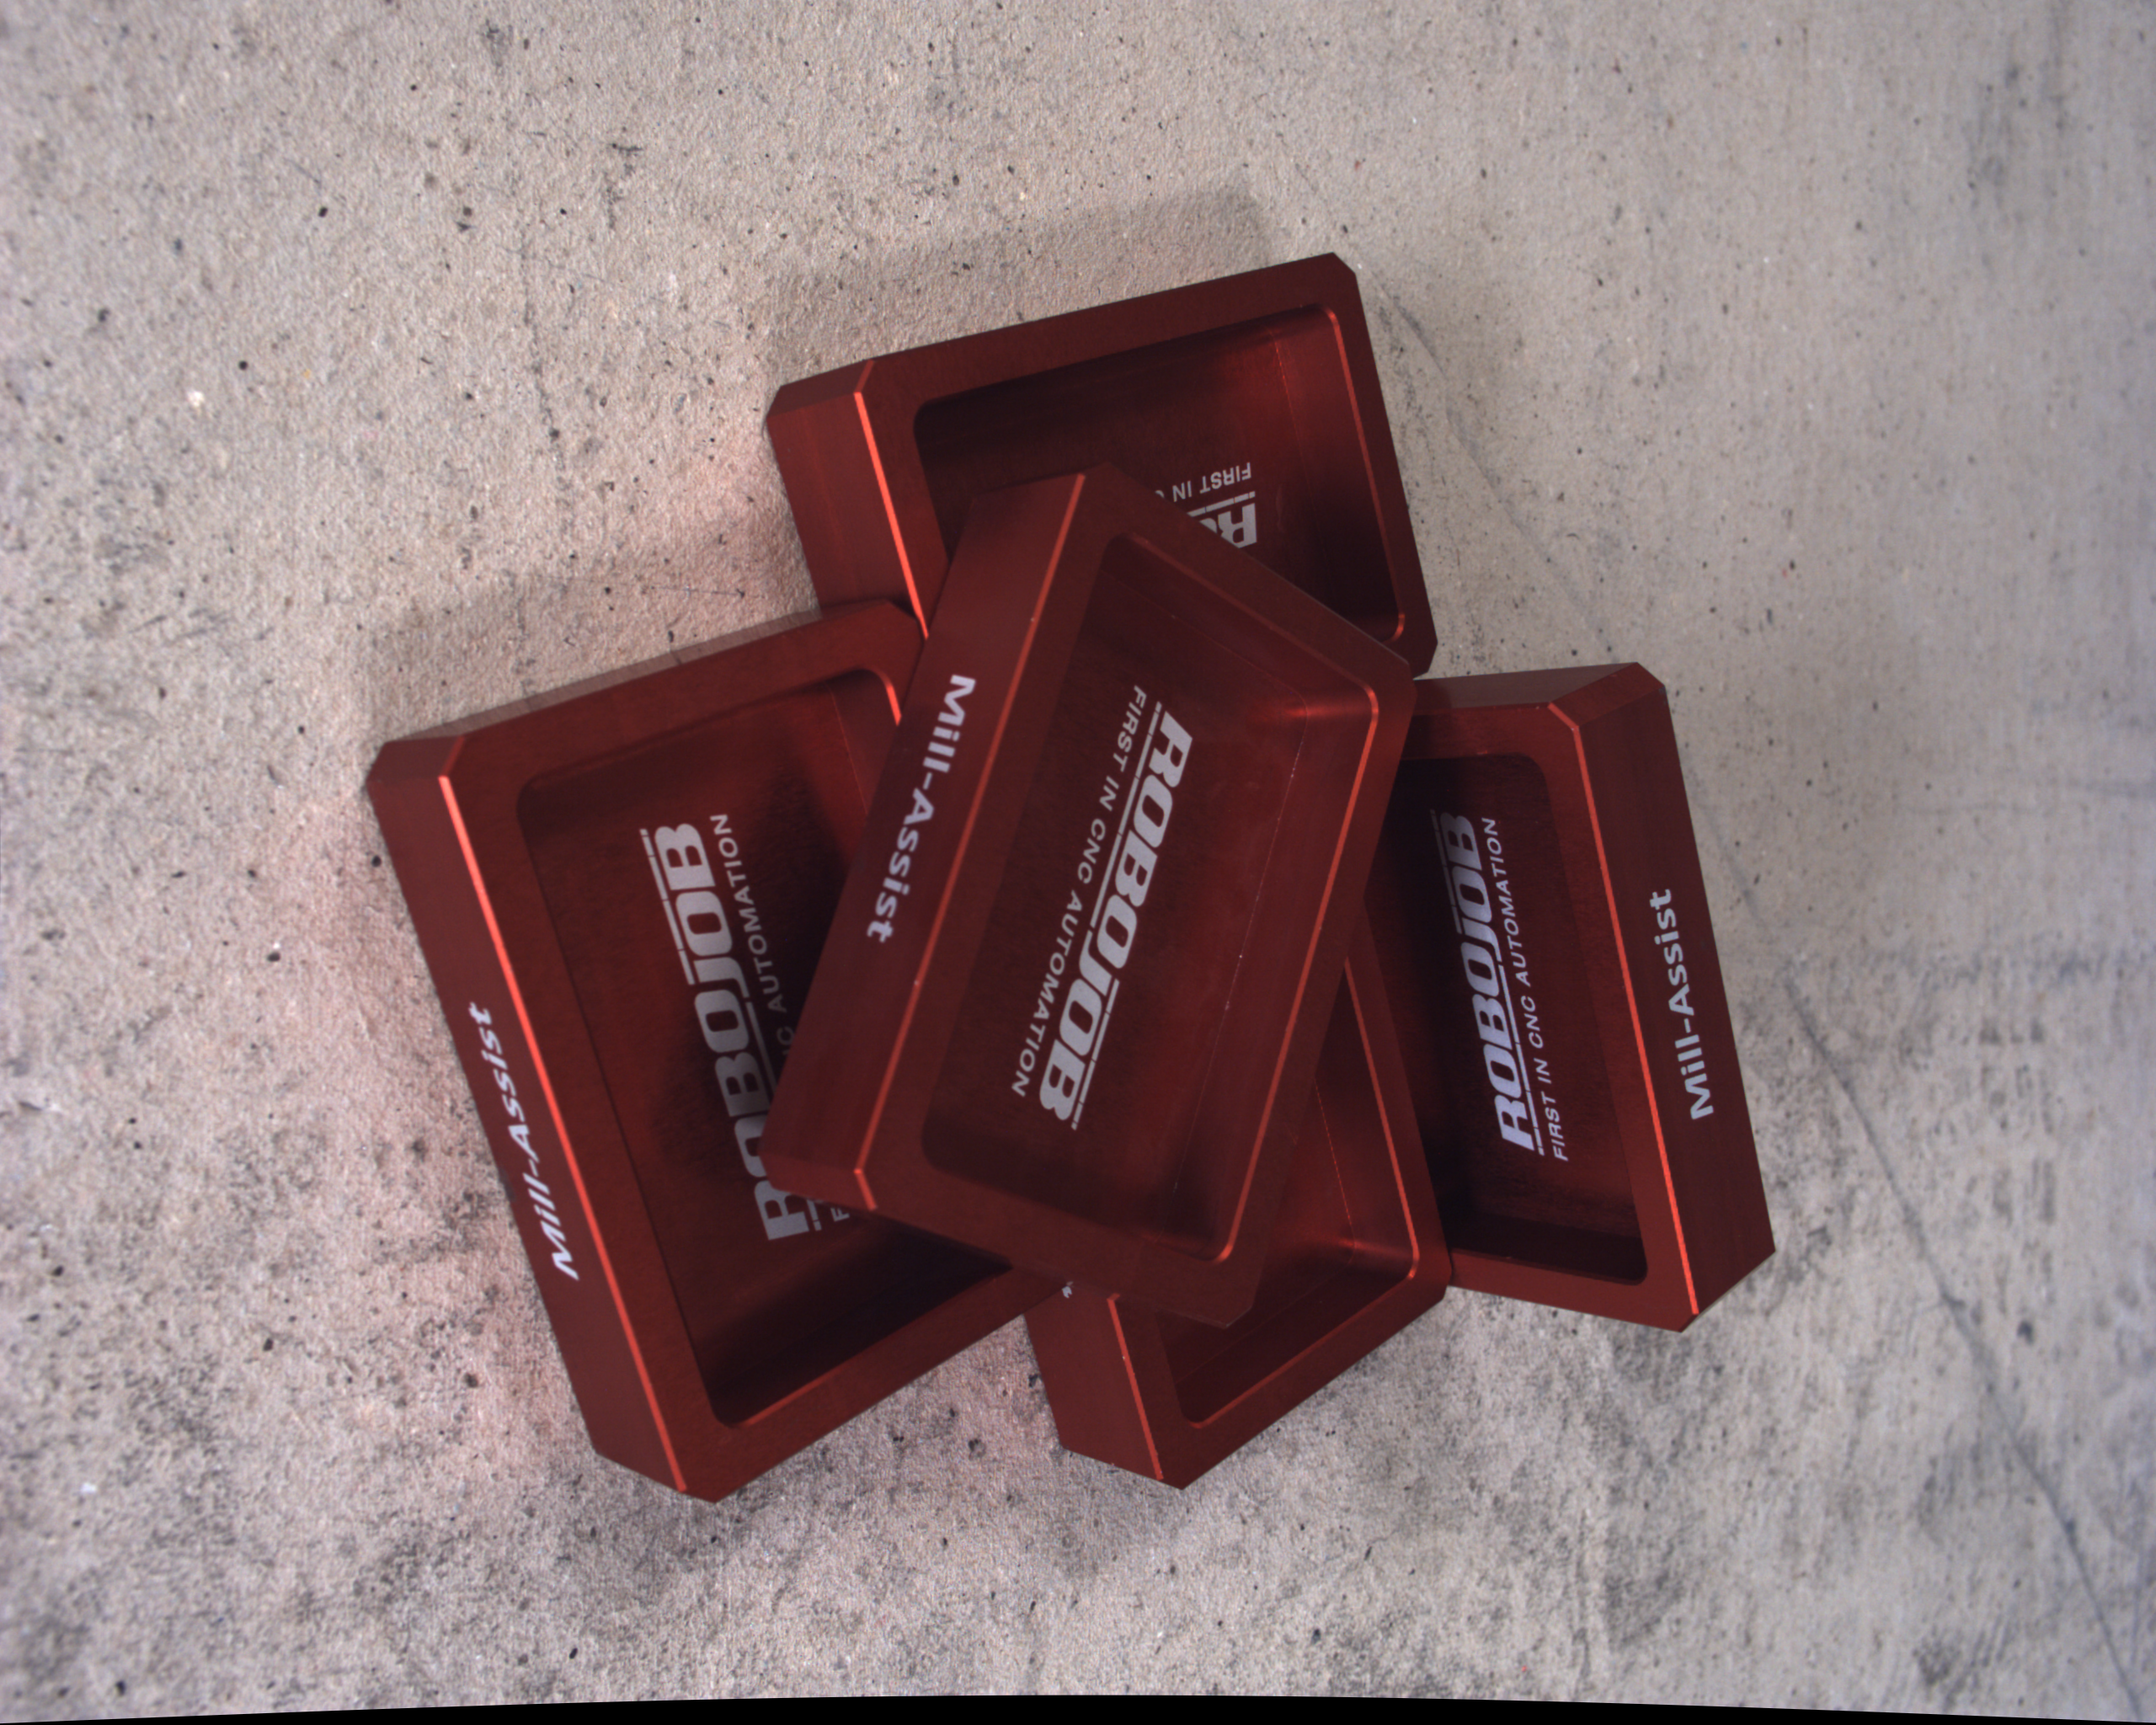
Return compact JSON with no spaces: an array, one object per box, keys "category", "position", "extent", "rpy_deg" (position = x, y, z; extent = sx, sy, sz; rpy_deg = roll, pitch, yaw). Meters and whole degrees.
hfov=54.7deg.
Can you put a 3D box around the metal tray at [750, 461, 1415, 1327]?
[{"category":"metal tray","position":[0.006,0.007,0.370],"extent":[0.090,0.030,0.130],"rpy_deg":[27,74,-36]}]

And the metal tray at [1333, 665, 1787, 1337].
[{"category":"metal tray","position":[0.090,0.027,0.436],"extent":[0.030,0.090,0.129],"rpy_deg":[-24,105,-38]}]

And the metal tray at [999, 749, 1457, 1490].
[{"category":"metal tray","position":[0.025,0.046,0.421],"extent":[0.091,0.030,0.129],"rpy_deg":[-24,107,-36]}]

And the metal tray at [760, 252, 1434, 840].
[{"category":"metal tray","position":[0.010,-0.064,0.412],"extent":[0.131,0.030,0.089],"rpy_deg":[-23,105,-37]}]

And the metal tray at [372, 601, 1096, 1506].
[{"category":"metal tray","position":[-0.054,0.029,0.356],"extent":[0.091,0.030,0.129],"rpy_deg":[-24,105,-37]}]
